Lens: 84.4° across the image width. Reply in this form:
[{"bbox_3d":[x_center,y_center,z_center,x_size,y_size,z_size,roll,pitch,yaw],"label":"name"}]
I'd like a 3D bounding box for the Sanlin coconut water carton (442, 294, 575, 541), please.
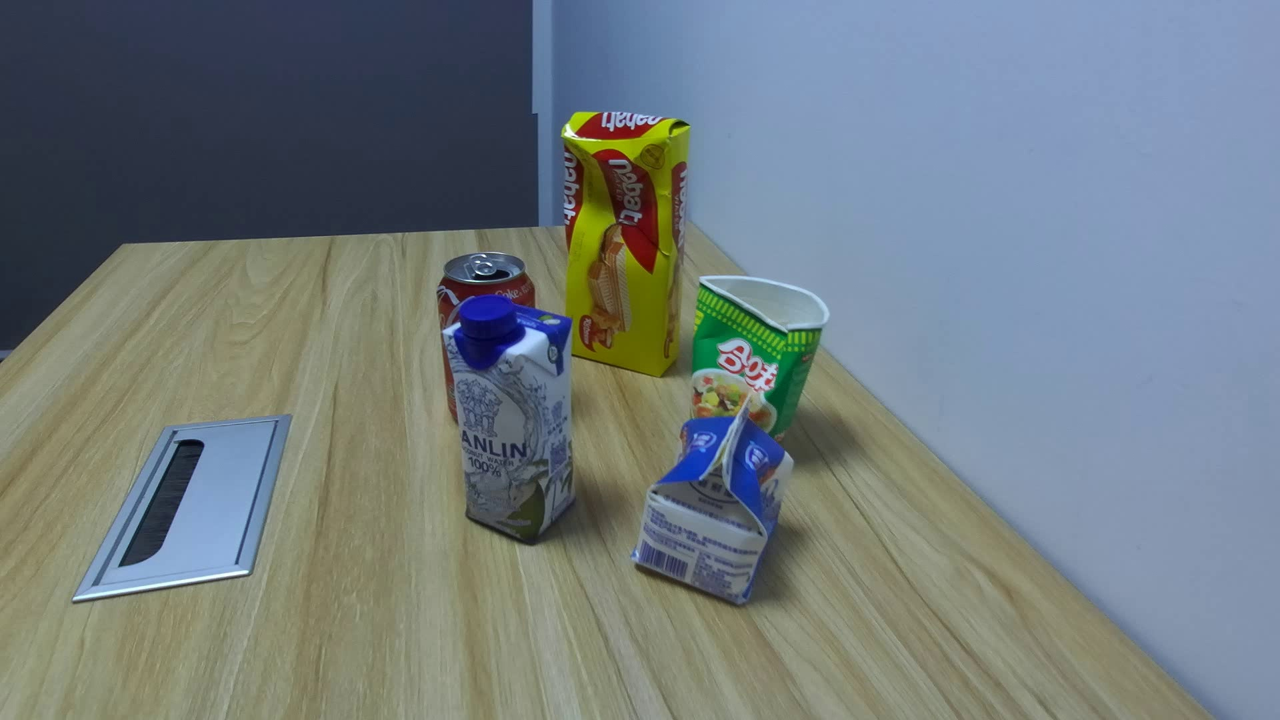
[{"bbox_3d":[-0.072,0.029,0.405,0.060,0.144,0.061,15,30,24],"label":"Sanlin coconut water carton"}]

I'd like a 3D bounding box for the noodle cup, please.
[{"bbox_3d":[0.076,0.009,0.485,0.075,0.122,0.082,5,19,-13],"label":"noodle cup"}]

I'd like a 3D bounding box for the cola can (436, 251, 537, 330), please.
[{"bbox_3d":[-0.107,-0.015,0.506,0.068,0.120,0.068,2,29,-1],"label":"cola can"}]

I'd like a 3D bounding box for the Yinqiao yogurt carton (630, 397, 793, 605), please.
[{"bbox_3d":[0.043,0.070,0.391,0.071,0.094,0.077,17,33,16],"label":"Yinqiao yogurt carton"}]

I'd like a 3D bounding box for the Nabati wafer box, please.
[{"bbox_3d":[-0.016,-0.092,0.562,0.106,0.204,0.042,15,32,21],"label":"Nabati wafer box"}]
